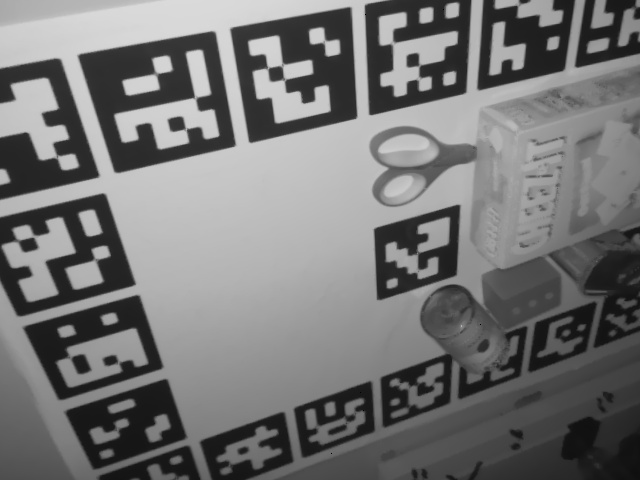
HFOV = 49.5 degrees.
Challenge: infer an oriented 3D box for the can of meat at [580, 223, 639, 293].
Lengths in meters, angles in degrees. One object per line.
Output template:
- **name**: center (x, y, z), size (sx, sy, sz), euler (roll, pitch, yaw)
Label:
- **can of meat**: center (0.354, 0.012, 0.789), size (0.103, 0.083, 0.057), euler (-4, 119, -20)

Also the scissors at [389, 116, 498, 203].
- **scissors**: center (0.166, -0.099, 0.677), size (0.204, 0.016, 0.087), euler (-21, 123, -11)

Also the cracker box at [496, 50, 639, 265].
- **cracker box**: center (0.289, -0.087, 0.697), size (0.215, 0.072, 0.163), euler (-23, 125, -13)

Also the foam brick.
- **foam brick**: center (0.262, 0.056, 0.799), size (0.078, 0.051, 0.052), euler (-25, 124, -7)

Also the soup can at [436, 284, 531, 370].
- **soup can**: center (0.189, 0.102, 0.794), size (0.067, 0.068, 0.103), euler (-48, 129, 9)
